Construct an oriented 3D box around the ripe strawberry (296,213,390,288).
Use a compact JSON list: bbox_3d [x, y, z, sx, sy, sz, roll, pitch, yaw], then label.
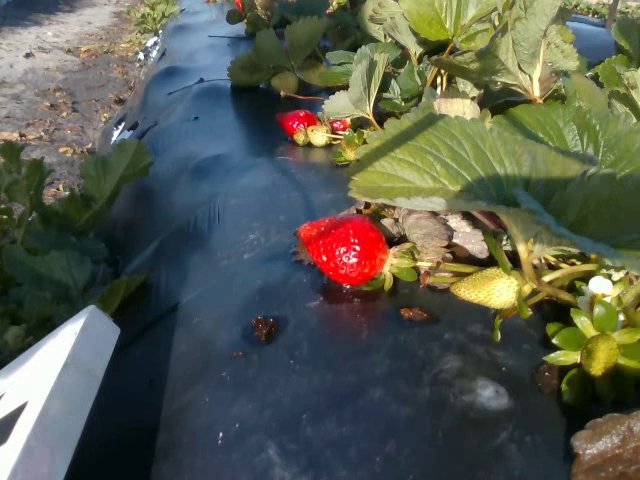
[{"bbox_3d":[0.003,0.002,0.281,0.054,0.038,0.047,15,40,3],"label":"ripe strawberry"}]
